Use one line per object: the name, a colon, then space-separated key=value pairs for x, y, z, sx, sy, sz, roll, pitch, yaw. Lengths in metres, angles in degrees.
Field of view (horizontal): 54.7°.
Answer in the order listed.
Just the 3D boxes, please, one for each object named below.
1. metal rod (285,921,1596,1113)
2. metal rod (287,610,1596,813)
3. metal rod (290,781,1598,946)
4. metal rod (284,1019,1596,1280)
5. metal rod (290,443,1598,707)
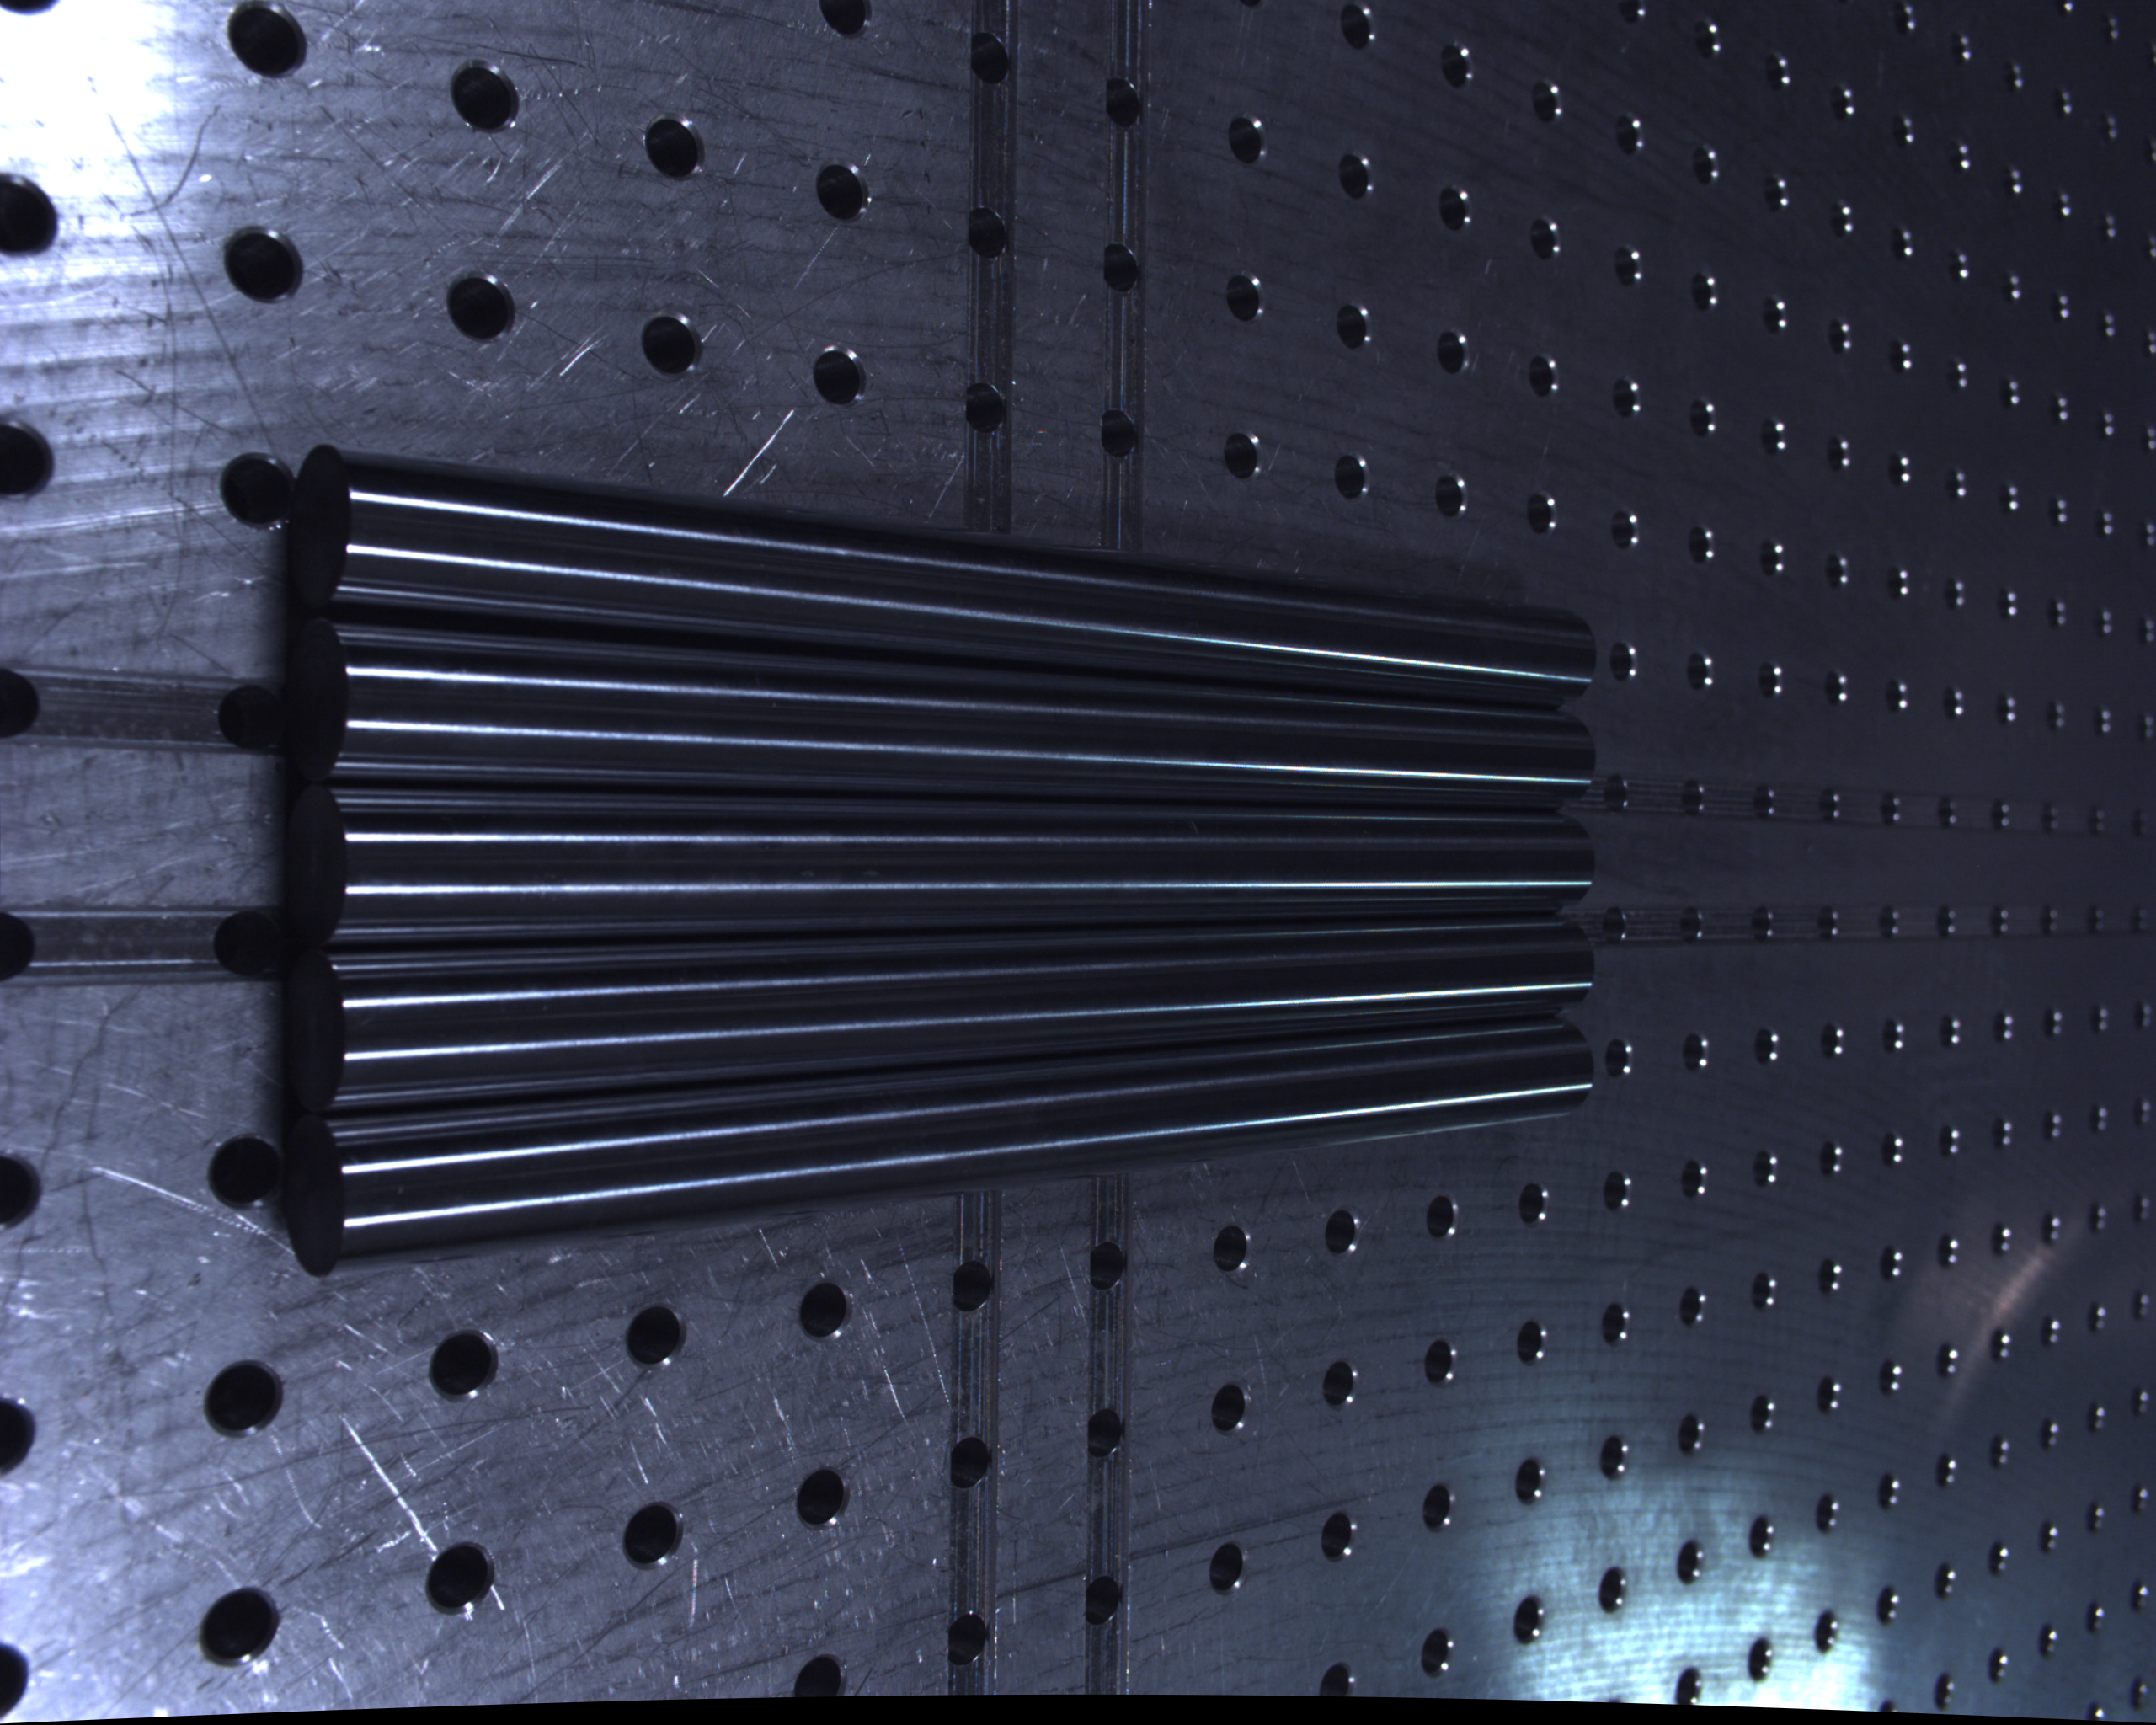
metal rod: x=0.001 y=0.026 z=0.411 sx=0.302 sy=0.025 sz=0.025 roll=0 pitch=90 yaw=-40
metal rod: x=0.001 y=-0.025 z=0.412 sx=0.302 sy=0.025 sz=0.025 roll=0 pitch=90 yaw=-40
metal rod: x=0.001 y=0.001 z=0.412 sx=0.302 sy=0.025 sz=0.025 roll=0 pitch=90 yaw=-40
metal rod: x=0.000 y=0.050 z=0.411 sx=0.302 sy=0.025 sz=0.025 roll=0 pitch=90 yaw=-40
metal rod: x=0.001 y=-0.050 z=0.412 sx=0.302 sy=0.025 sz=0.025 roll=0 pitch=90 yaw=-40
